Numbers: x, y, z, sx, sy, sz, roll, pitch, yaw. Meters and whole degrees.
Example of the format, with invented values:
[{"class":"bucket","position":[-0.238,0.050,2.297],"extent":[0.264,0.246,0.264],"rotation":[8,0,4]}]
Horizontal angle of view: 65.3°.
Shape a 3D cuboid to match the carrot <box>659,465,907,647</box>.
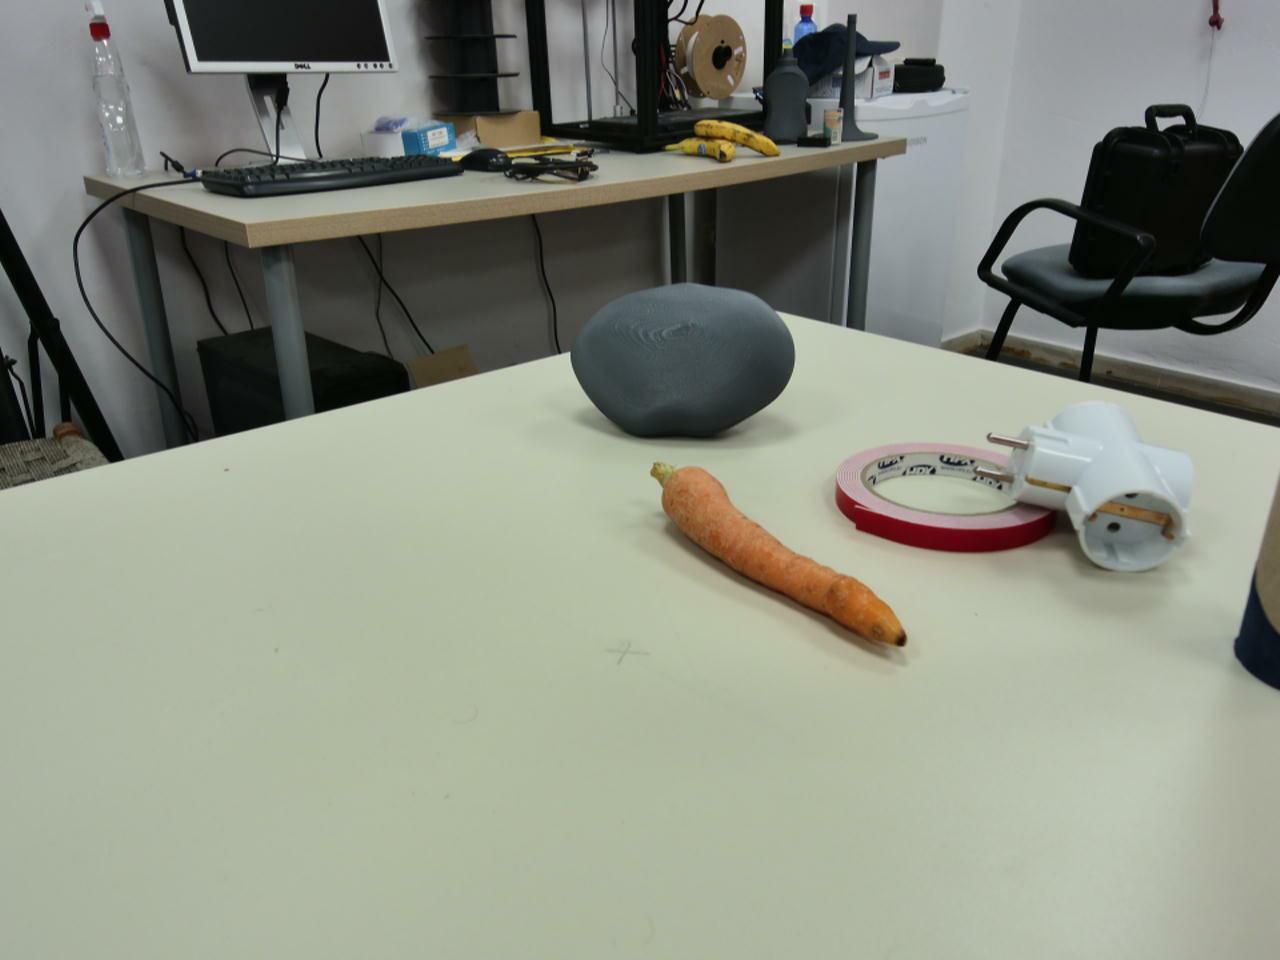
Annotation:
[{"class":"carrot","position":[0.056,0.030,0.453],"extent":[0.030,0.032,0.173],"rotation":[-12,24,-27]}]
